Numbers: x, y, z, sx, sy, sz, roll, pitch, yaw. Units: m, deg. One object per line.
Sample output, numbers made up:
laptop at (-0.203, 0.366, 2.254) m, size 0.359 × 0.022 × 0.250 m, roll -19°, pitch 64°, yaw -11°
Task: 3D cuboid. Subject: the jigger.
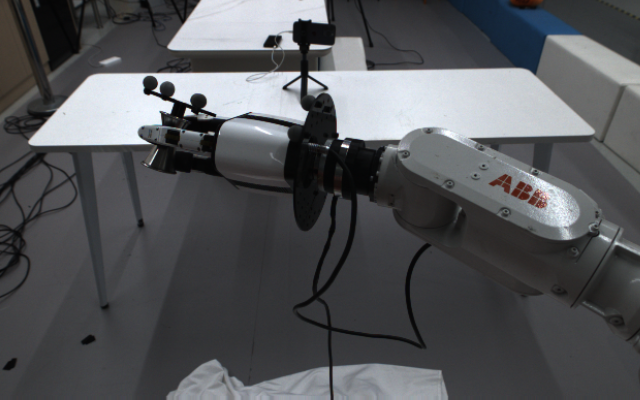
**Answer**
jigger at (-0.188, -0.071, 0.593) m, size 0.043 × 0.071 × 0.043 m, roll 21°, pitch 6°, yaw -2°
